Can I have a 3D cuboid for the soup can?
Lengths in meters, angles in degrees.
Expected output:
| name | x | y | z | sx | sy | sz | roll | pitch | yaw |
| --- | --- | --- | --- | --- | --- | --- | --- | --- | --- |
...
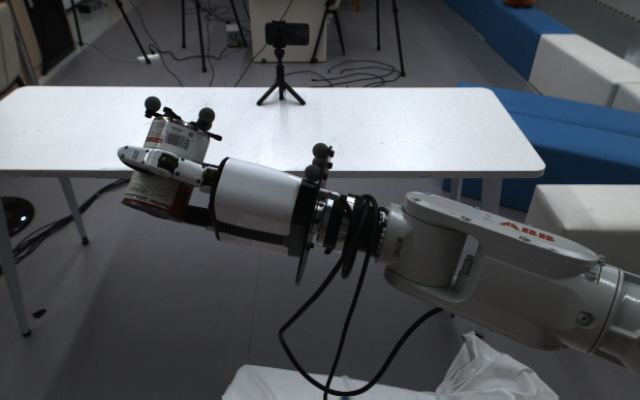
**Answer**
| name | x | y | z | sx | sy | sz | roll | pitch | yaw |
| --- | --- | --- | --- | --- | --- | --- | --- | --- | --- |
| soup can | -0.170 | -0.032 | 0.542 | 0.067 | 0.067 | 0.101 | 13 | 78 | 15 |
